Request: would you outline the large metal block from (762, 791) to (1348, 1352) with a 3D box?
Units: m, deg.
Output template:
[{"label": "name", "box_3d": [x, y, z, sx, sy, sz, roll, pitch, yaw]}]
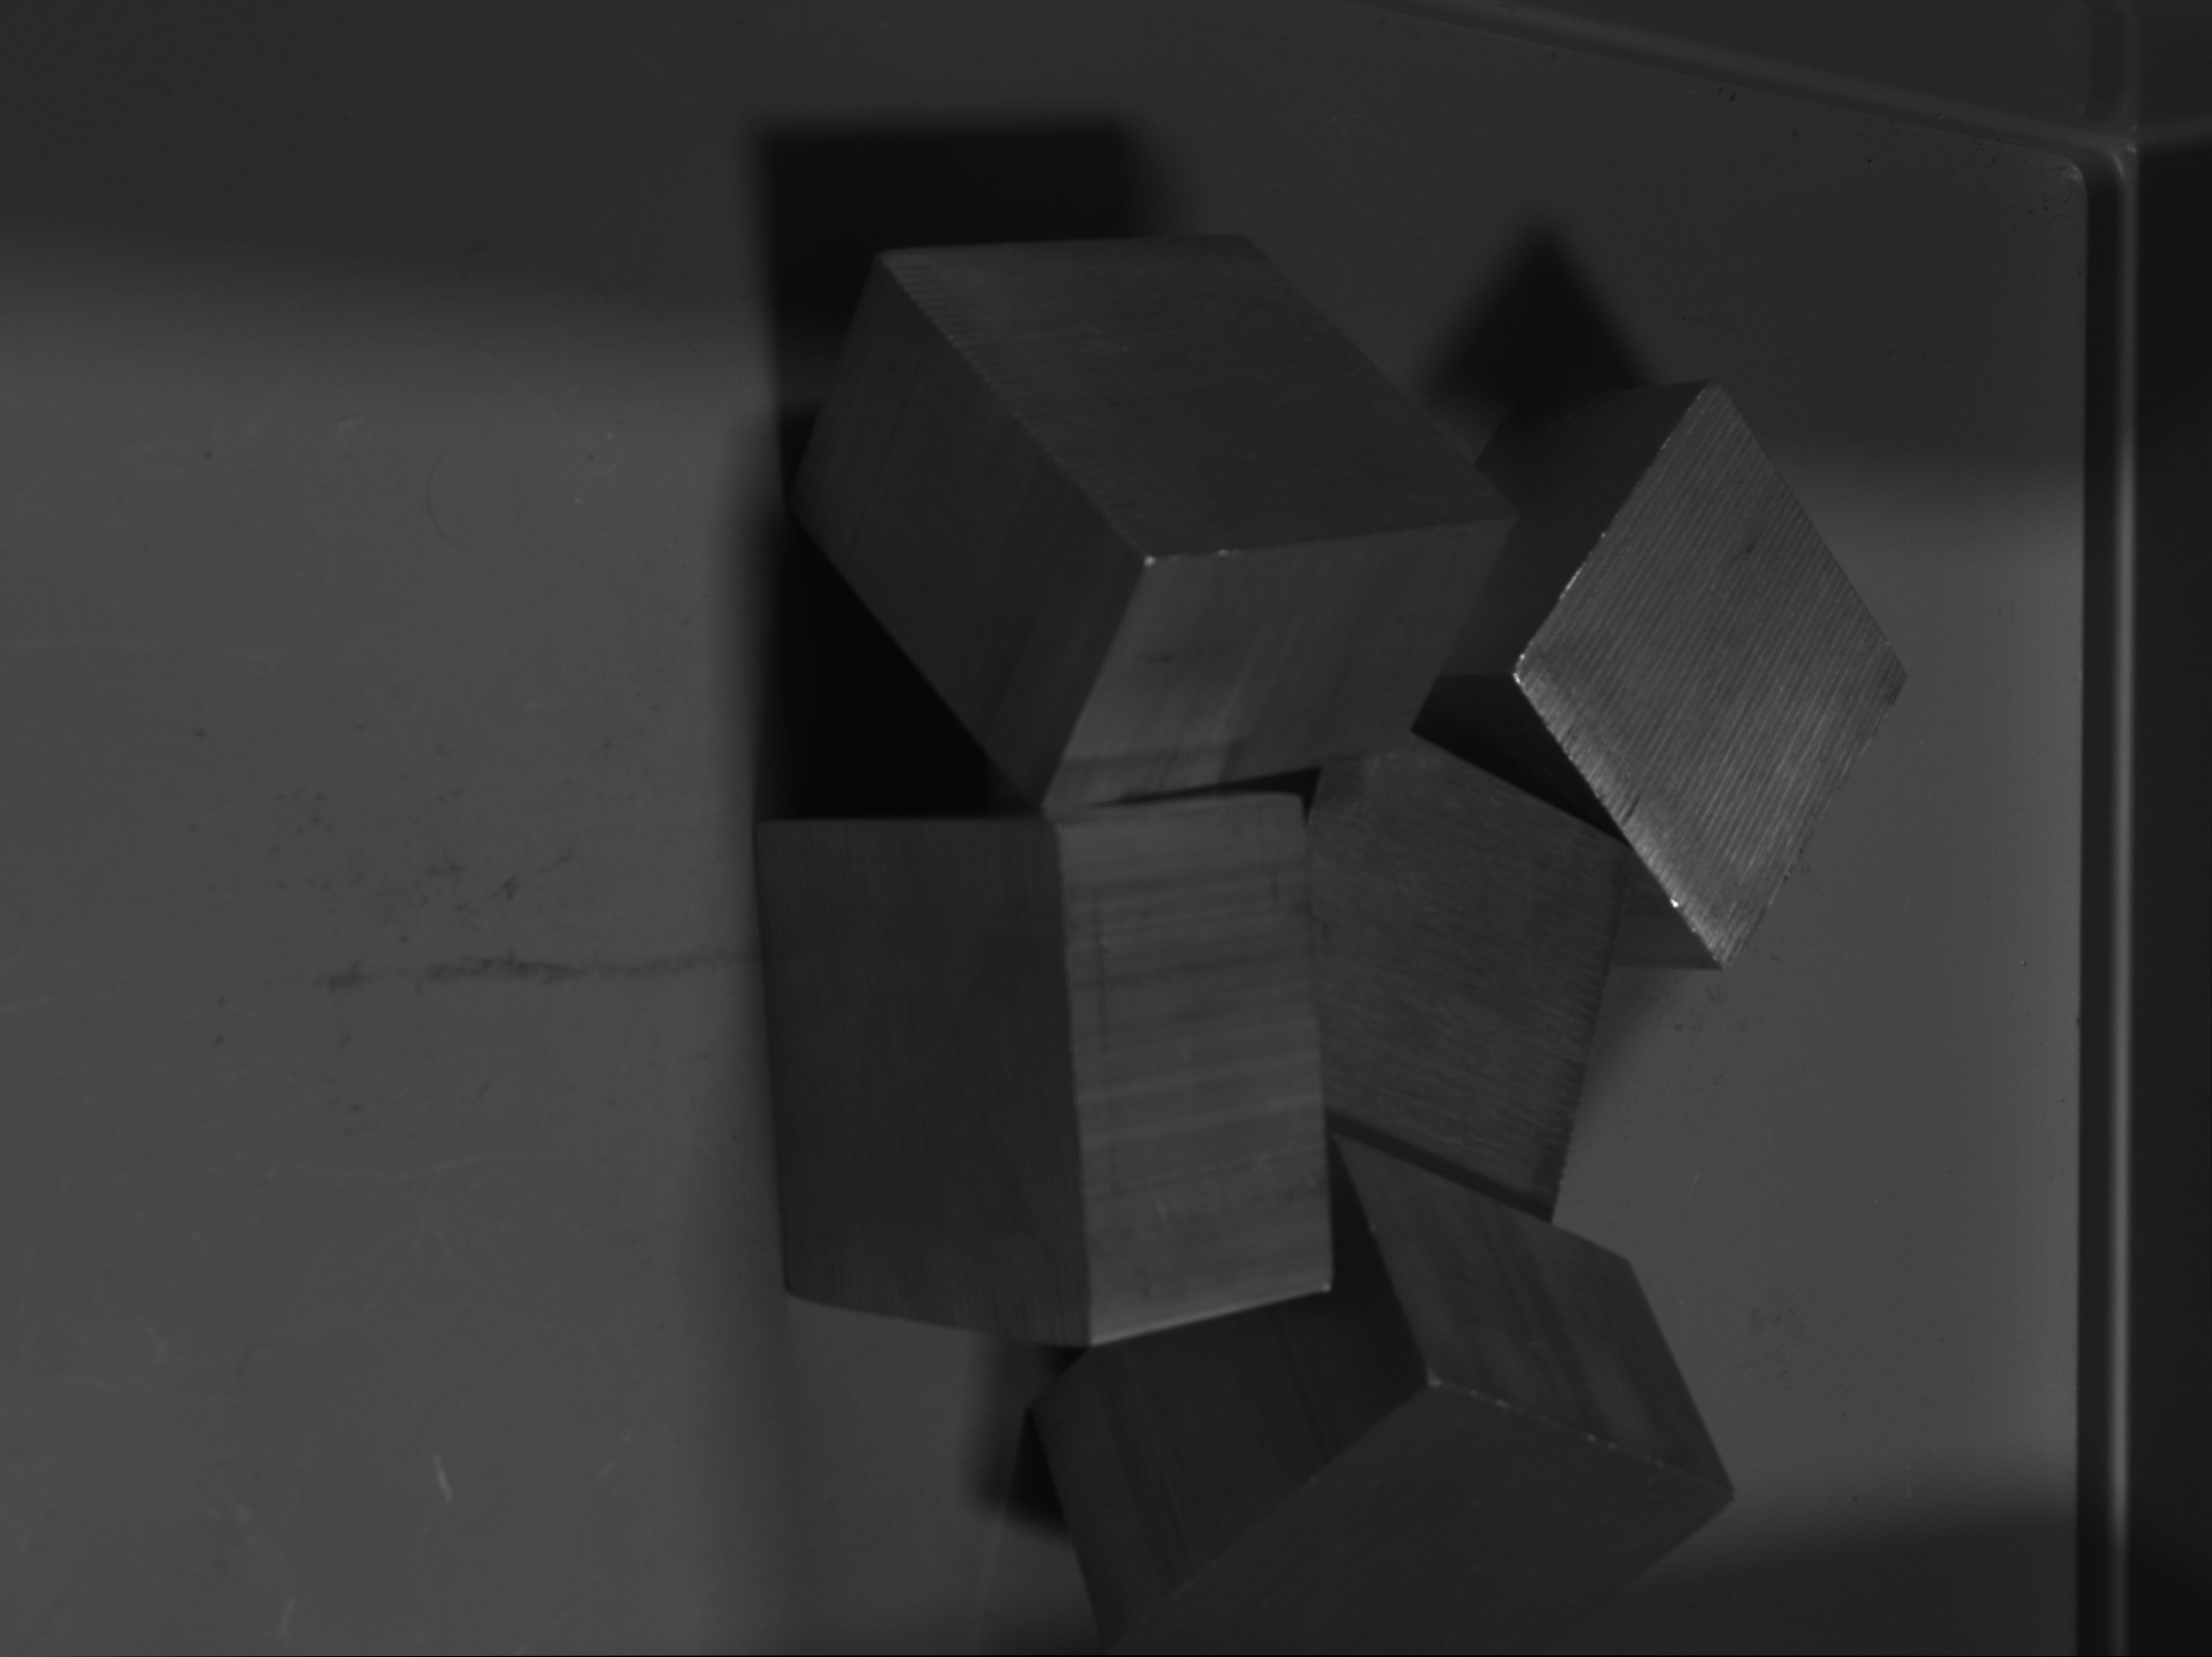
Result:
[{"label": "large metal block", "box_3d": [-0.009, 0.036, 0.593, 0.050, 0.080, 0.080, -7, 94, -40]}]

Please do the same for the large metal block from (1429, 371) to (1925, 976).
[{"label": "large metal block", "box_3d": [0.102, -0.029, 0.704, 0.080, 0.050, 0.080, 51, 60, -27]}]

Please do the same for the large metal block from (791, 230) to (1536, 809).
[{"label": "large metal block", "box_3d": [0.008, -0.053, 0.600, 0.080, 0.080, 0.050, -10, 138, -39]}]

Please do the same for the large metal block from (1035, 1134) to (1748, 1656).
[{"label": "large metal block", "box_3d": [0.048, 0.107, 0.632, 0.080, 0.080, 0.050, 26, 32, -38]}]

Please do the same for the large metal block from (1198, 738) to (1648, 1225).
[{"label": "large metal block", "box_3d": [0.044, 0.029, 0.658, 0.080, 0.050, 0.080, 24, 75, -37]}]
